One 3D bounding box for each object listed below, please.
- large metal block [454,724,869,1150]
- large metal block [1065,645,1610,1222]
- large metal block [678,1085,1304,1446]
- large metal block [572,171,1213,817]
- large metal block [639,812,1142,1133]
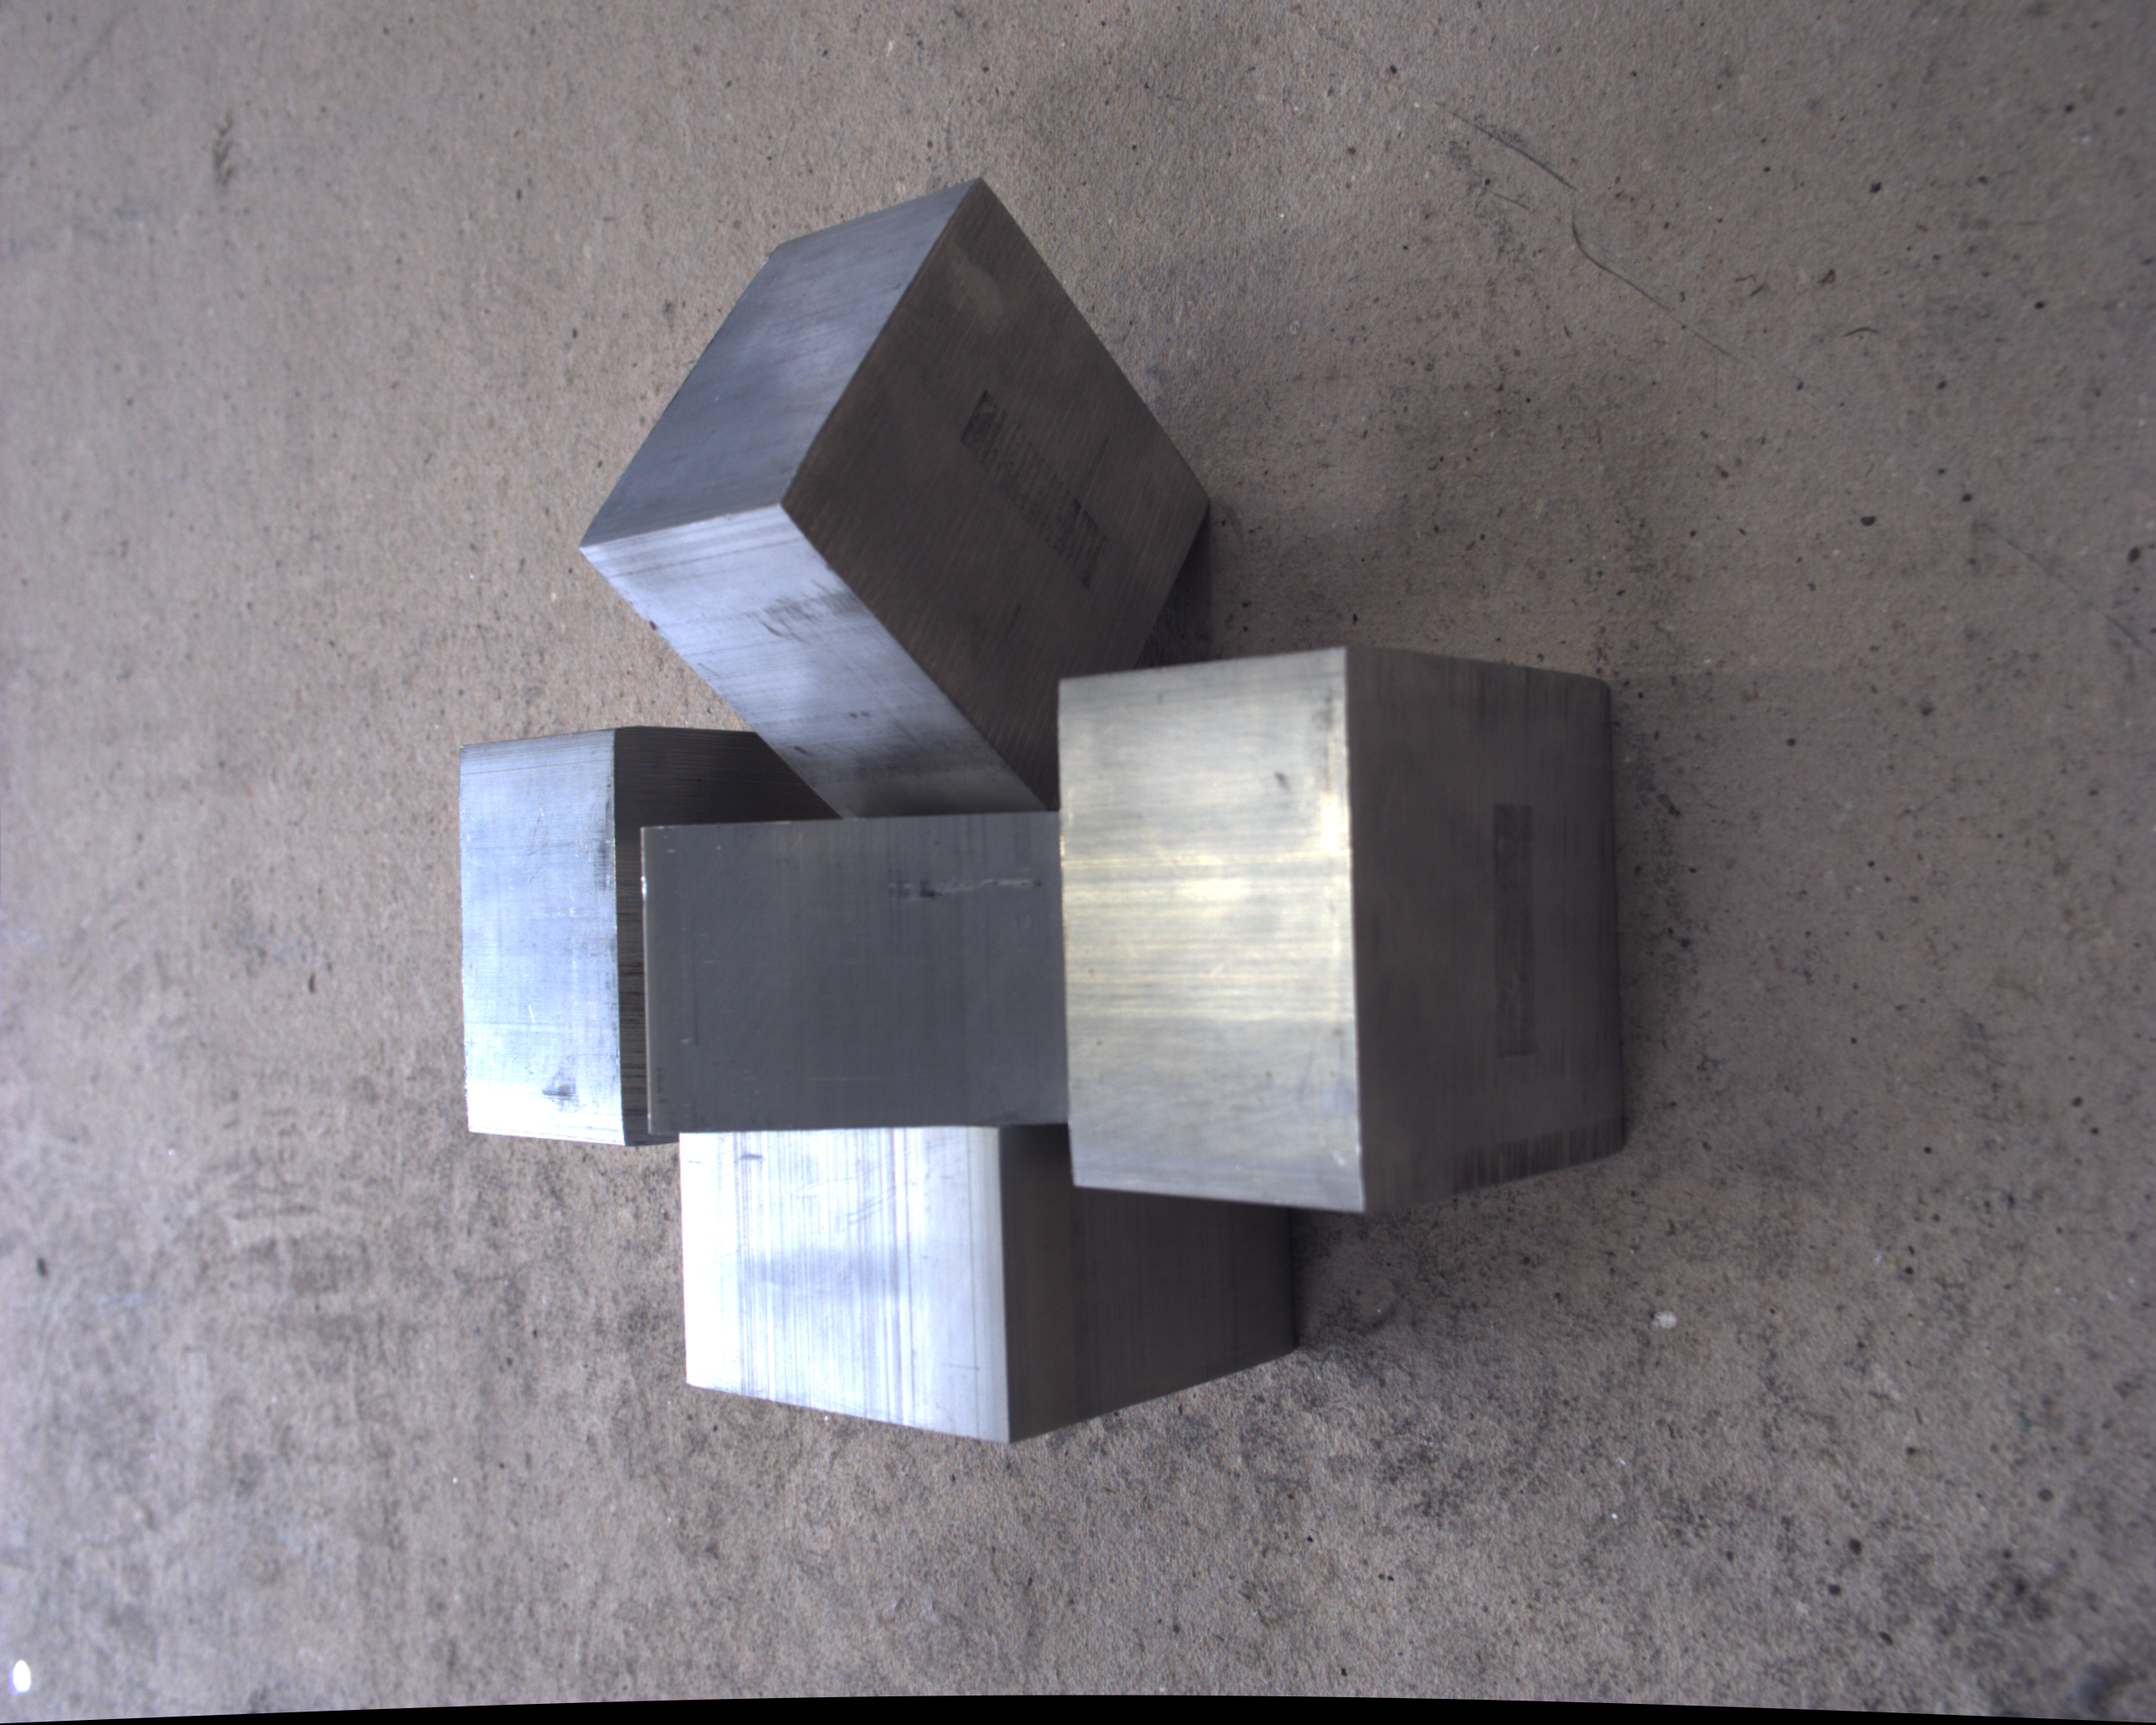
[{"bbox_3d":[-0.080,0.015,0.436,0.050,0.081,0.080,-2,88,39],"label":"large metal block"},{"bbox_3d":[0.043,0.011,0.335,0.050,0.081,0.080,-3,87,39],"label":"large metal block"},{"bbox_3d":[-0.015,0.068,0.384,0.080,0.081,0.050,-3,88,40],"label":"large metal block"},{"bbox_3d":[-0.029,-0.061,0.376,0.050,0.080,0.080,-3,51,40],"label":"large metal block"},{"bbox_3d":[-0.027,0.019,0.374,0.080,0.080,0.050,-1,88,5],"label":"large metal block"}]
